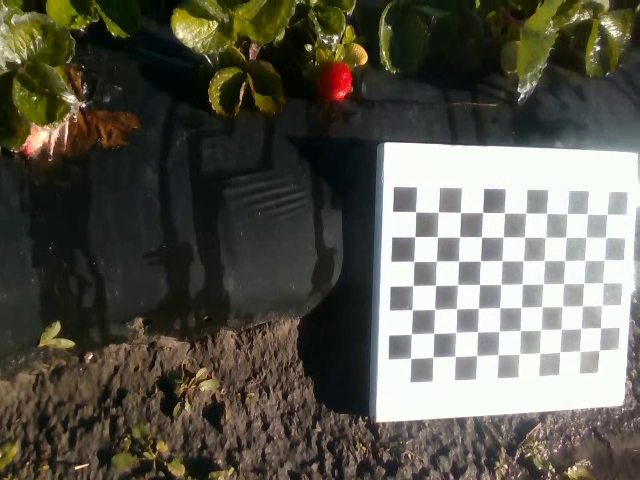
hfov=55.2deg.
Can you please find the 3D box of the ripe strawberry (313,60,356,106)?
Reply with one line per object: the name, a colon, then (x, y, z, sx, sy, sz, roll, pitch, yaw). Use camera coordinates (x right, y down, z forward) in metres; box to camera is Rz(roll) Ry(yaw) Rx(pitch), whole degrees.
ripe strawberry: (0.012, -0.112, 0.446, 0.039, 0.040, 0.039, -9, 31, -3)
